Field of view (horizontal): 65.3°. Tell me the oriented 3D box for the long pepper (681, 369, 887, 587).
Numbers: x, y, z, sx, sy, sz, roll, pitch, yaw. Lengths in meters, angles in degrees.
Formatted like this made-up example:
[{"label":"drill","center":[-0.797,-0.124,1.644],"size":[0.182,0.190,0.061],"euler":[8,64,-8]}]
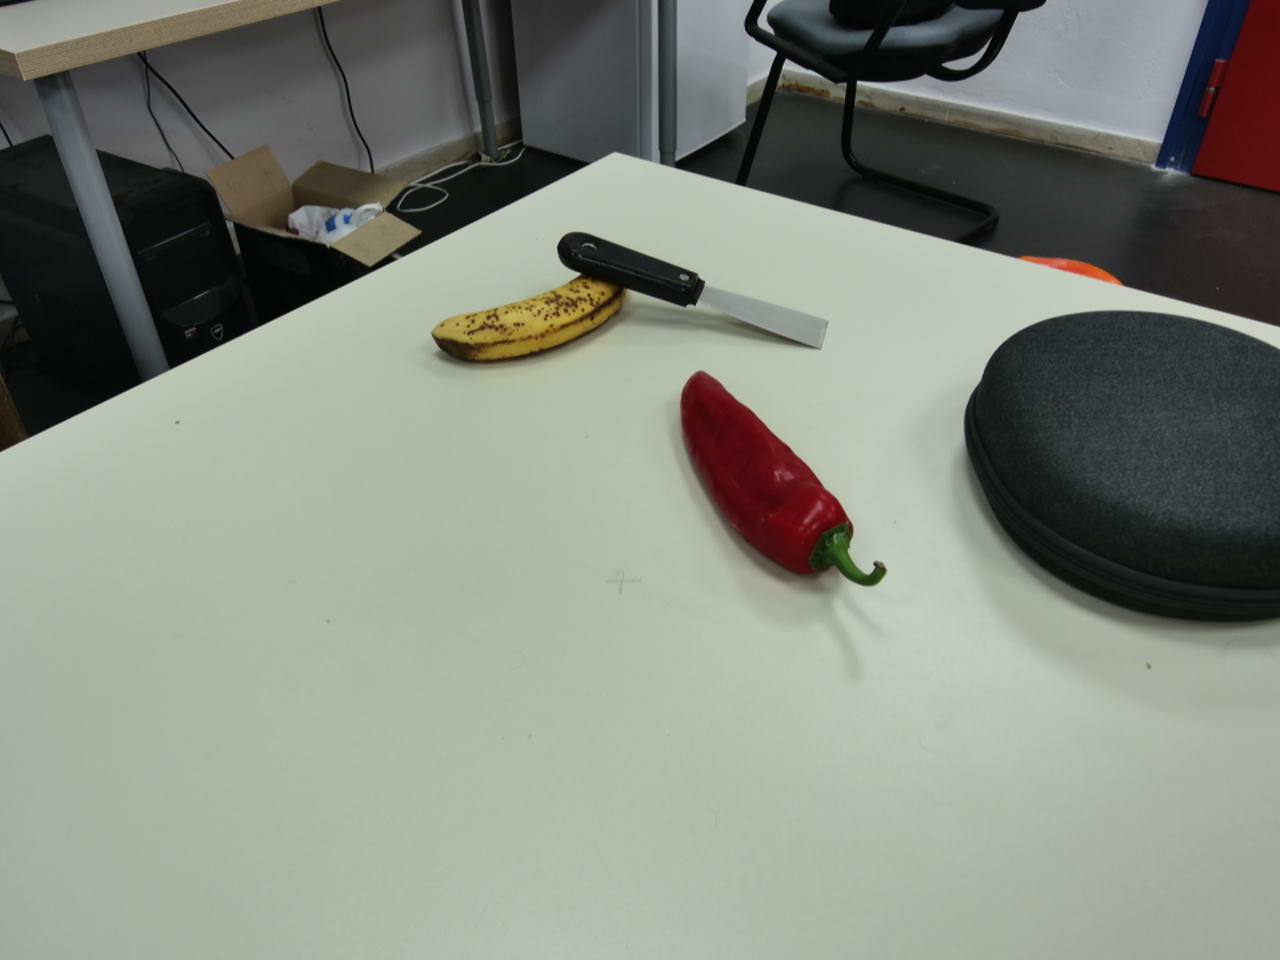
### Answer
[{"label":"long pepper","center":[0.063,-0.004,0.531],"size":[0.050,0.043,0.211],"euler":[-13,39,-16]}]
